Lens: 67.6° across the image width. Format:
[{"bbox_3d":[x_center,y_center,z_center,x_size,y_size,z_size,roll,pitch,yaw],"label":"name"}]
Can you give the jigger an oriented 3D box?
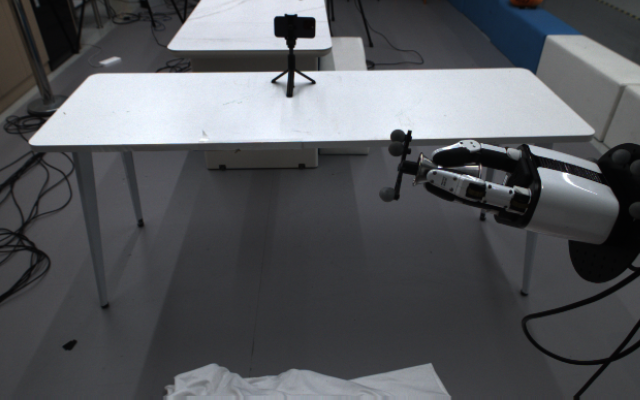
[{"bbox_3d":[0.150,-0.031,0.551,0.071,0.043,0.043,12,36,5],"label":"jigger"}]
